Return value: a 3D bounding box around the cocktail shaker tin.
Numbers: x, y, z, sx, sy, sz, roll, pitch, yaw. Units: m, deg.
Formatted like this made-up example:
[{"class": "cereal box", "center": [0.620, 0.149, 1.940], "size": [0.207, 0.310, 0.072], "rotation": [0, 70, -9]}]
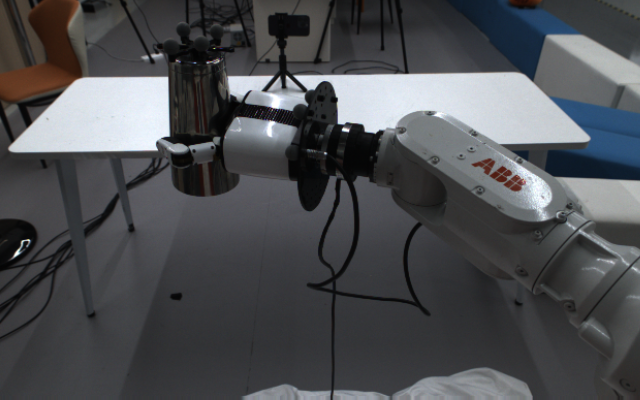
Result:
[{"class": "cocktail shaker tin", "center": [-0.149, -0.101, 0.616], "size": [0.093, 0.170, 0.093], "rotation": [3, 34, -2]}]
